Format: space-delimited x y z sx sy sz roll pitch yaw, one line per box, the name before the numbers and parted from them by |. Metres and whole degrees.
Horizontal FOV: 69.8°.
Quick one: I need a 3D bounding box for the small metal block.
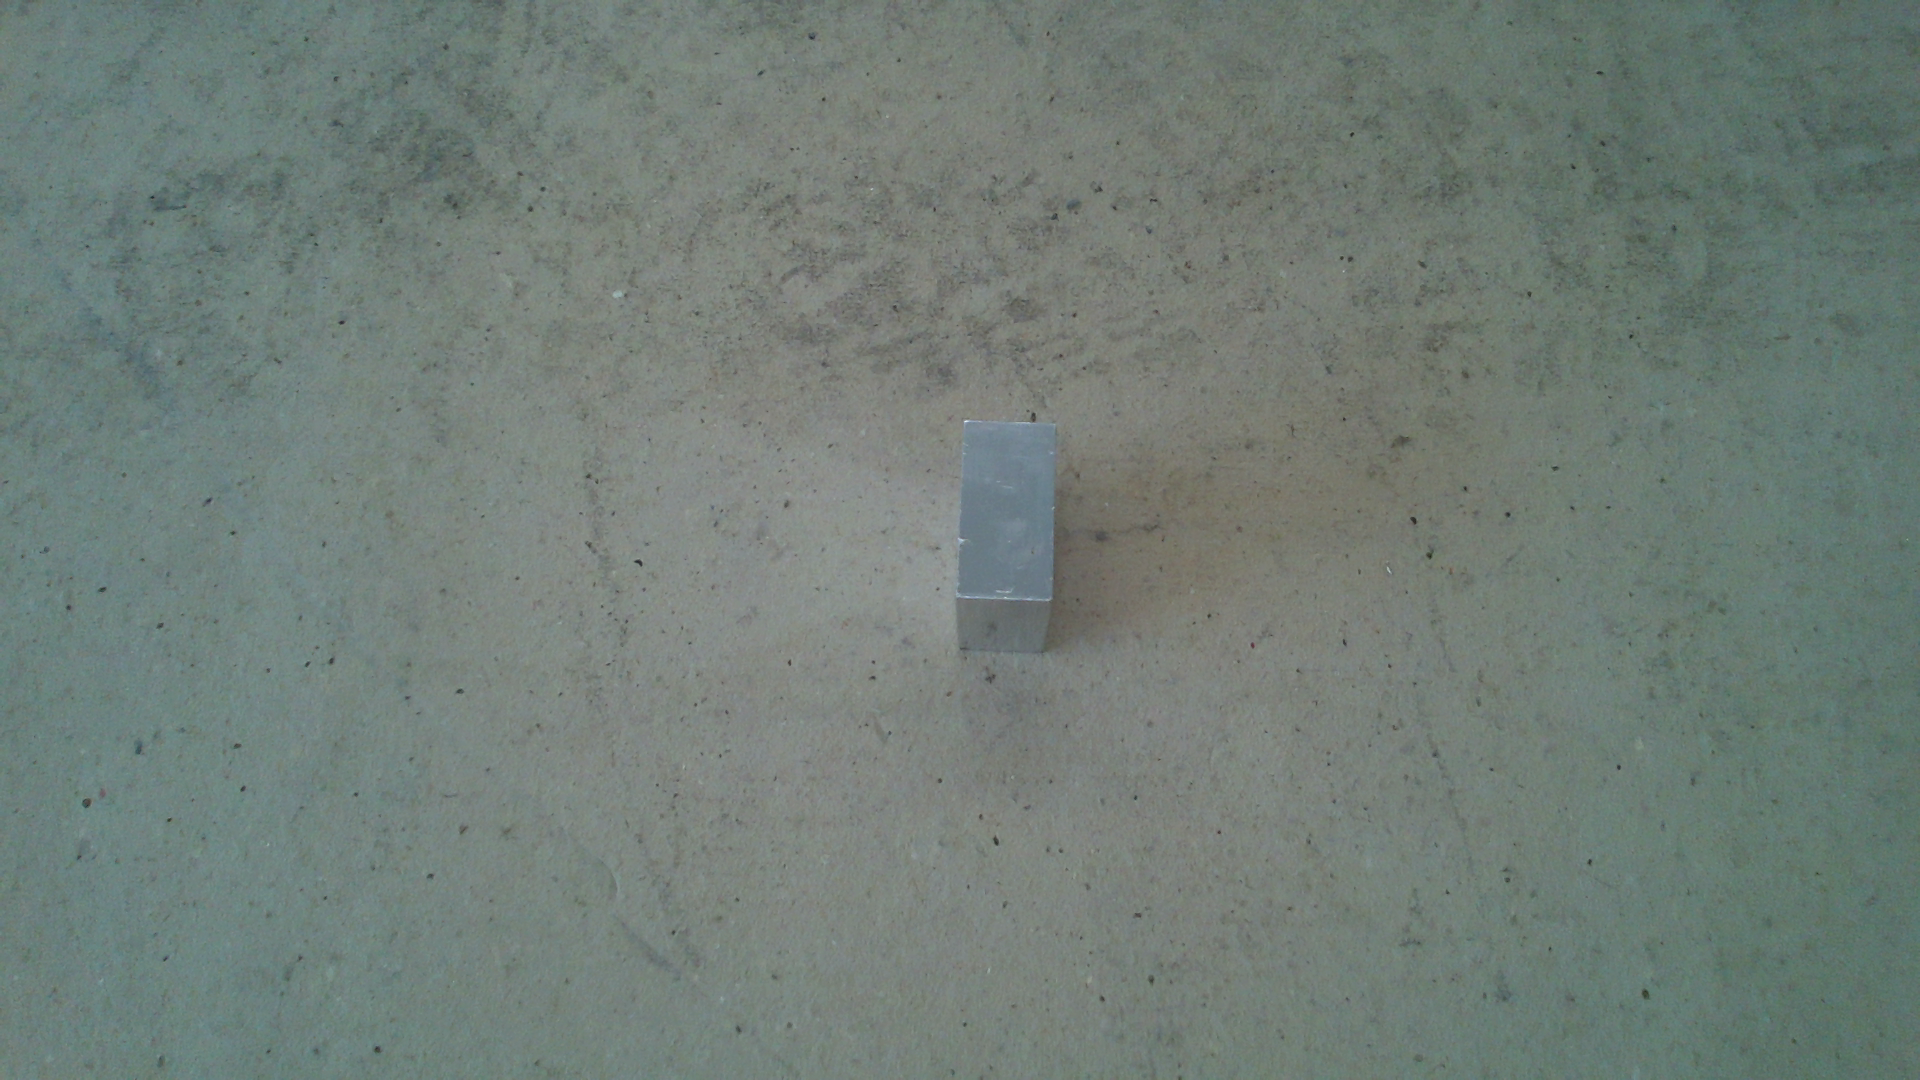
small metal block | 0.012 0.000 0.381 0.025 0.050 0.050 2 70 0
